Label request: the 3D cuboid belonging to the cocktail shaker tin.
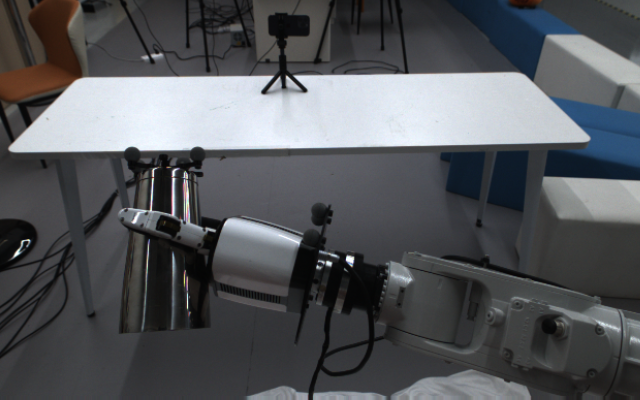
[{"bbox_3d":[-0.167,0.056,0.527,0.093,0.093,0.170,-3,76,-7],"label":"cocktail shaker tin"}]
